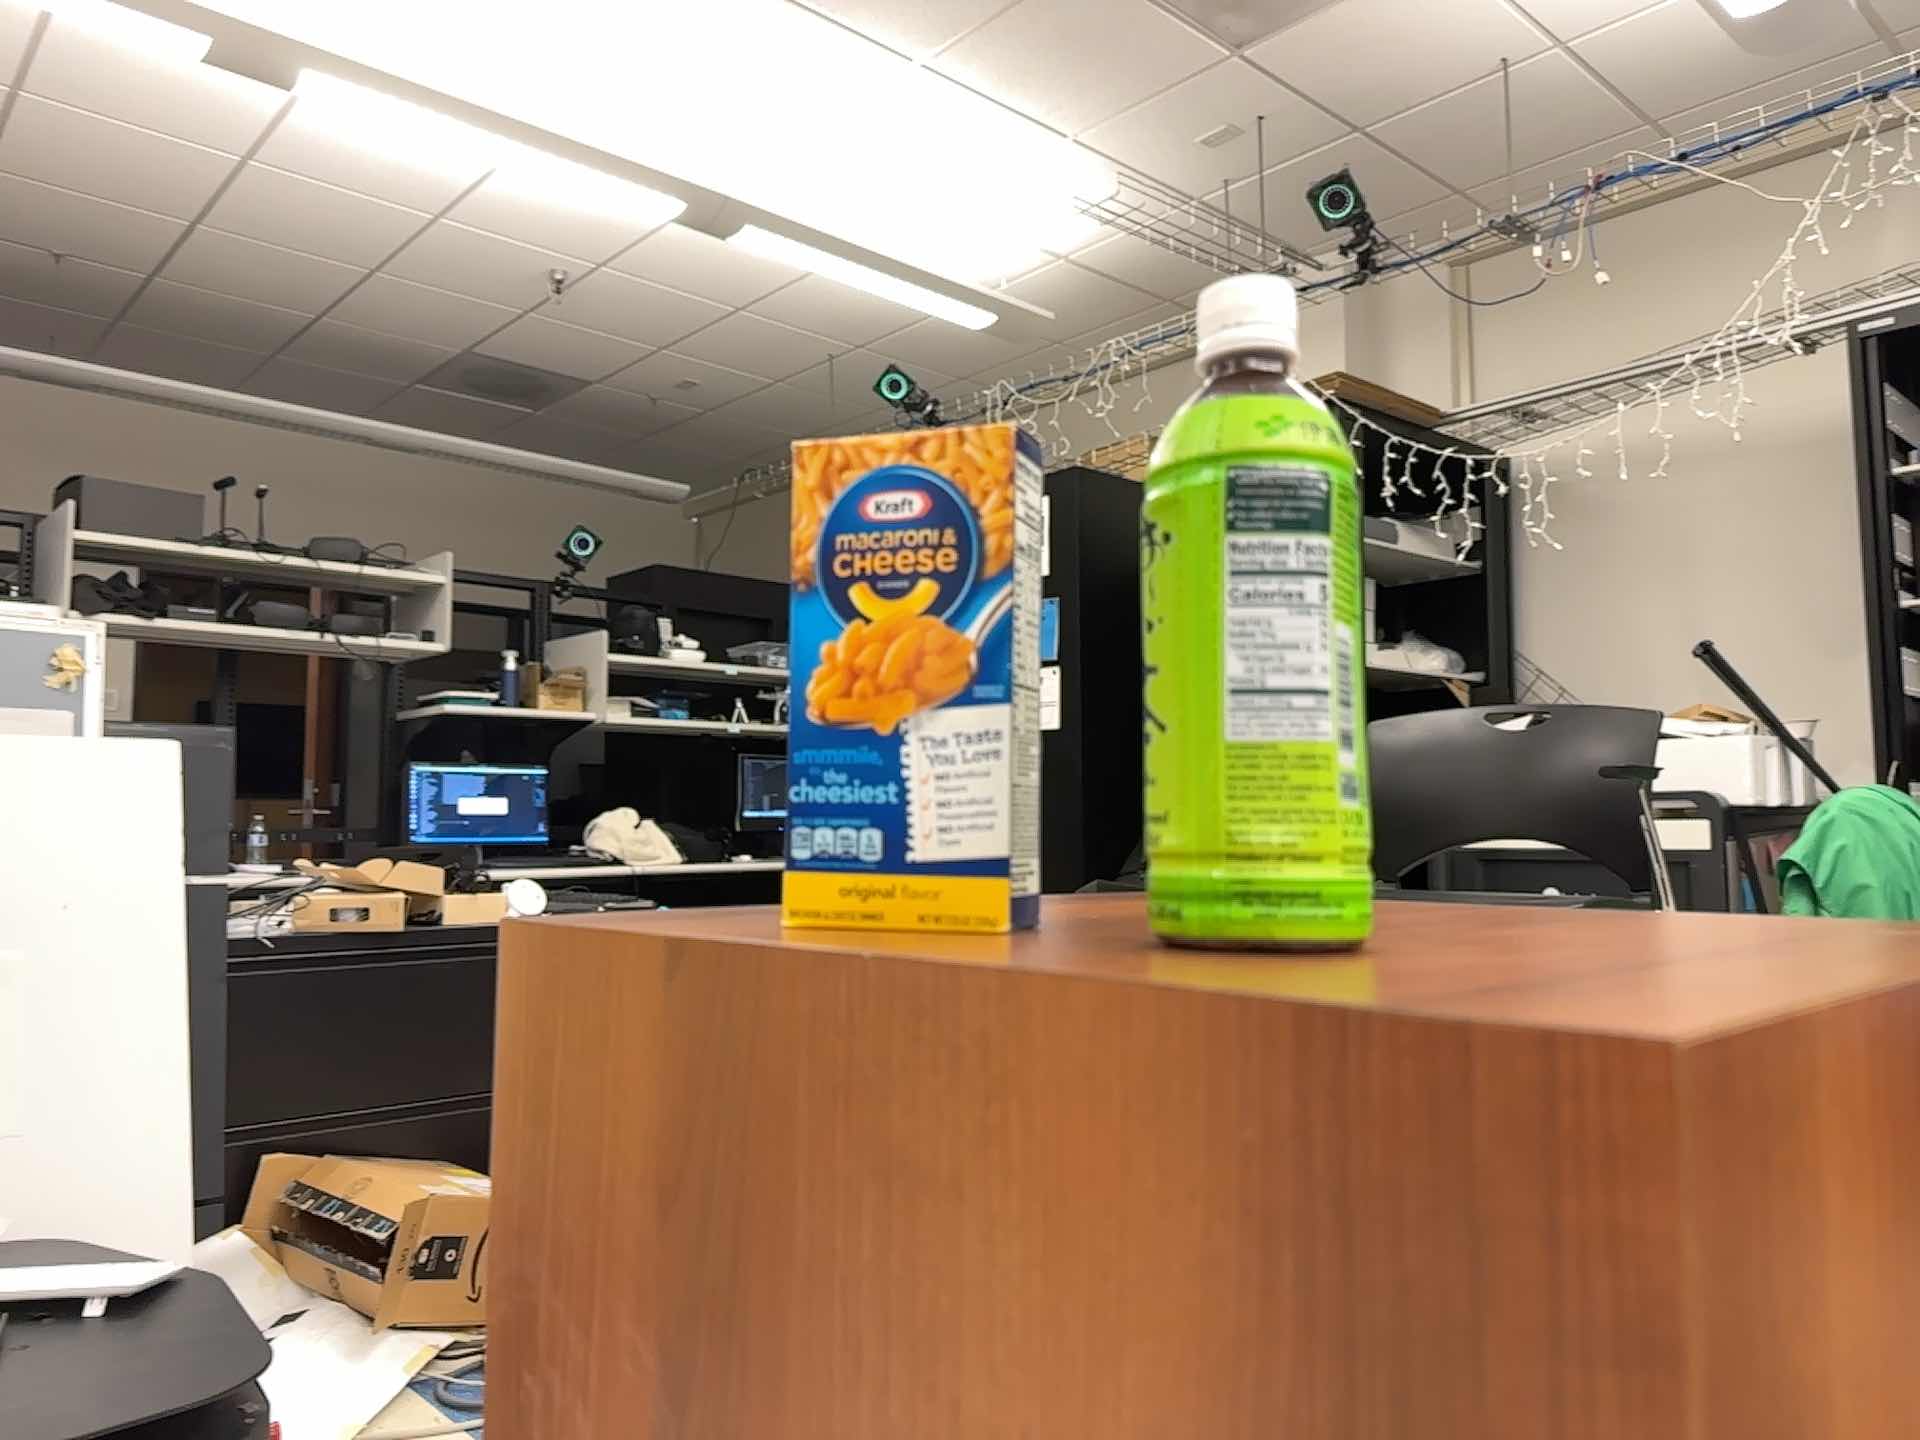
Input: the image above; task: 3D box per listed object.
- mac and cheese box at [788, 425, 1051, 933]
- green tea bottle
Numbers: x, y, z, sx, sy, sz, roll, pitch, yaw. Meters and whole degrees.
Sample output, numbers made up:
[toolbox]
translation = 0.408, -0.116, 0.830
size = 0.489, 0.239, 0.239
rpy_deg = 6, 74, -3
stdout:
[mac and cheese box]
translation = -0.014, -0.013, 0.508
size = 0.088, 0.181, 0.035
rpy_deg = -3, -8, 23
[green tea bottle]
translation = 0.094, -0.038, 0.432
size = 0.073, 0.212, 0.073
rpy_deg = 3, -7, 0
